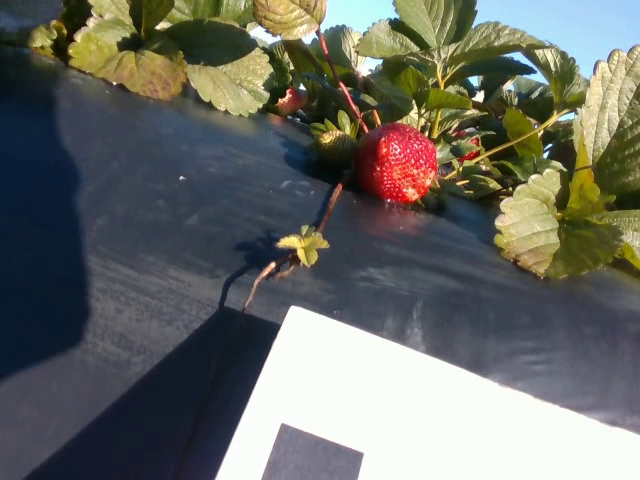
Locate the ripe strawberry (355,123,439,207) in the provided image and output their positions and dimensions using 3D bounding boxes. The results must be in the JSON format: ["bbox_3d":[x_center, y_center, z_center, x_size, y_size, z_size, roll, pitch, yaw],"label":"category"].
[{"bbox_3d":[0.031,-0.034,0.257,0.041,0.043,0.053,31,1,11],"label":"ripe strawberry"}]
